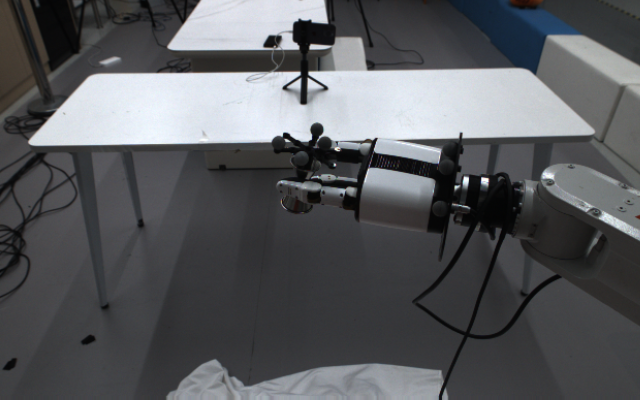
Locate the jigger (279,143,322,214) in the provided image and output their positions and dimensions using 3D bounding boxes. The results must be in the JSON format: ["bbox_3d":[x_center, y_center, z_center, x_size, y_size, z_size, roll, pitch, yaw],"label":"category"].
[{"bbox_3d":[-0.025,-0.022,0.633,0.043,0.071,0.043,10,36,-7],"label":"jigger"}]
